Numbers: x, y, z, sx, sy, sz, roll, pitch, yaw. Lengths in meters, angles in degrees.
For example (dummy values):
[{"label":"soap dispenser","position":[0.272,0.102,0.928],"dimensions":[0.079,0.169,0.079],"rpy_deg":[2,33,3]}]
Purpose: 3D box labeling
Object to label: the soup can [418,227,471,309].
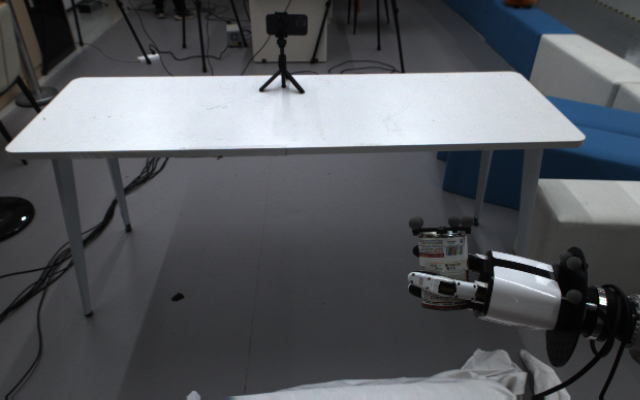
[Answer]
[{"label":"soup can","position":[0.174,0.096,0.671],"dimensions":[0.067,0.101,0.067],"rpy_deg":[-3,-1,0]}]
